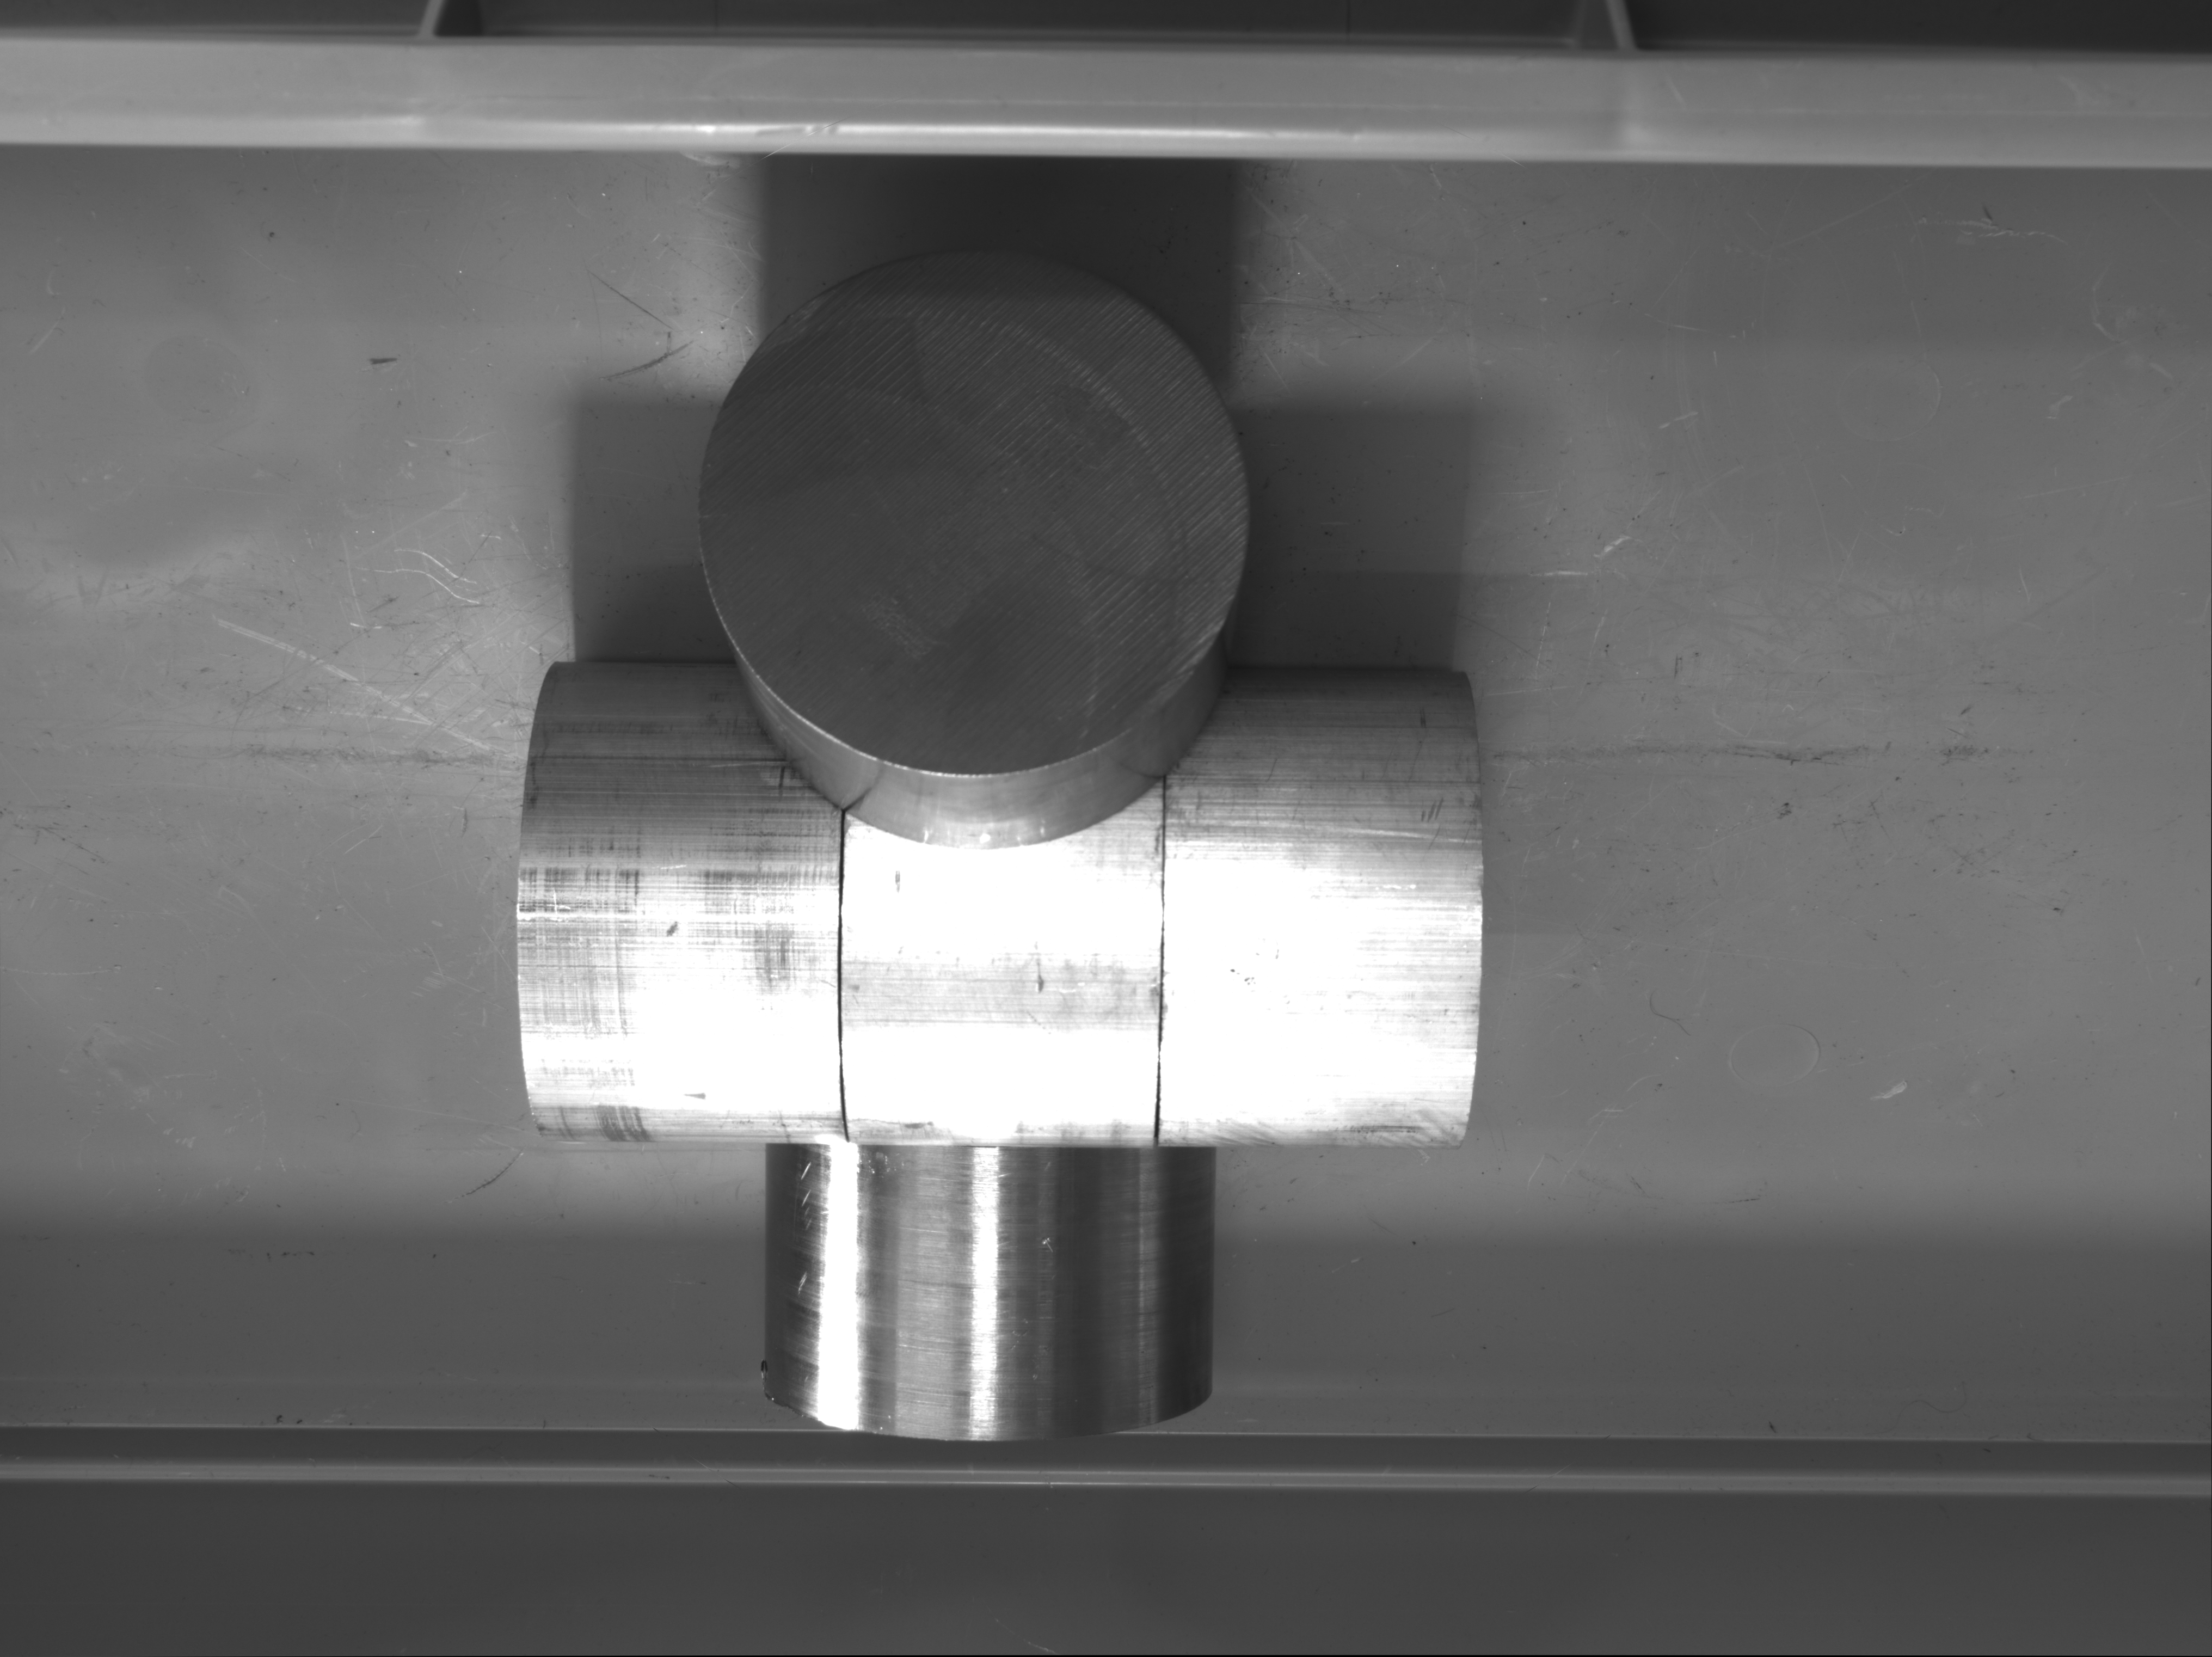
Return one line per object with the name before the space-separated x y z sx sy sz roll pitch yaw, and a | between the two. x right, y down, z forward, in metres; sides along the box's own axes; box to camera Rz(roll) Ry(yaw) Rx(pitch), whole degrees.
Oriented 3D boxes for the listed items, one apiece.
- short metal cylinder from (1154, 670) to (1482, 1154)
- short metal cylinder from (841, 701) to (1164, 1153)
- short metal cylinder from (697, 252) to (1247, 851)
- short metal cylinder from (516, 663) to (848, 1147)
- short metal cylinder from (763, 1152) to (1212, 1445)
short metal cylinder | 0.034 0.014 0.613 0.050 0.080 0.080 1 130 0
short metal cylinder | -0.016 0.014 0.613 0.050 0.080 0.080 1 130 0
short metal cylinder | -0.020 -0.041 0.558 0.080 0.080 0.050 1 168 -1
short metal cylinder | -0.067 0.013 0.612 0.050 0.080 0.080 1 130 0
short metal cylinder | -0.021 0.075 0.655 0.080 0.080 0.050 0 96 0
